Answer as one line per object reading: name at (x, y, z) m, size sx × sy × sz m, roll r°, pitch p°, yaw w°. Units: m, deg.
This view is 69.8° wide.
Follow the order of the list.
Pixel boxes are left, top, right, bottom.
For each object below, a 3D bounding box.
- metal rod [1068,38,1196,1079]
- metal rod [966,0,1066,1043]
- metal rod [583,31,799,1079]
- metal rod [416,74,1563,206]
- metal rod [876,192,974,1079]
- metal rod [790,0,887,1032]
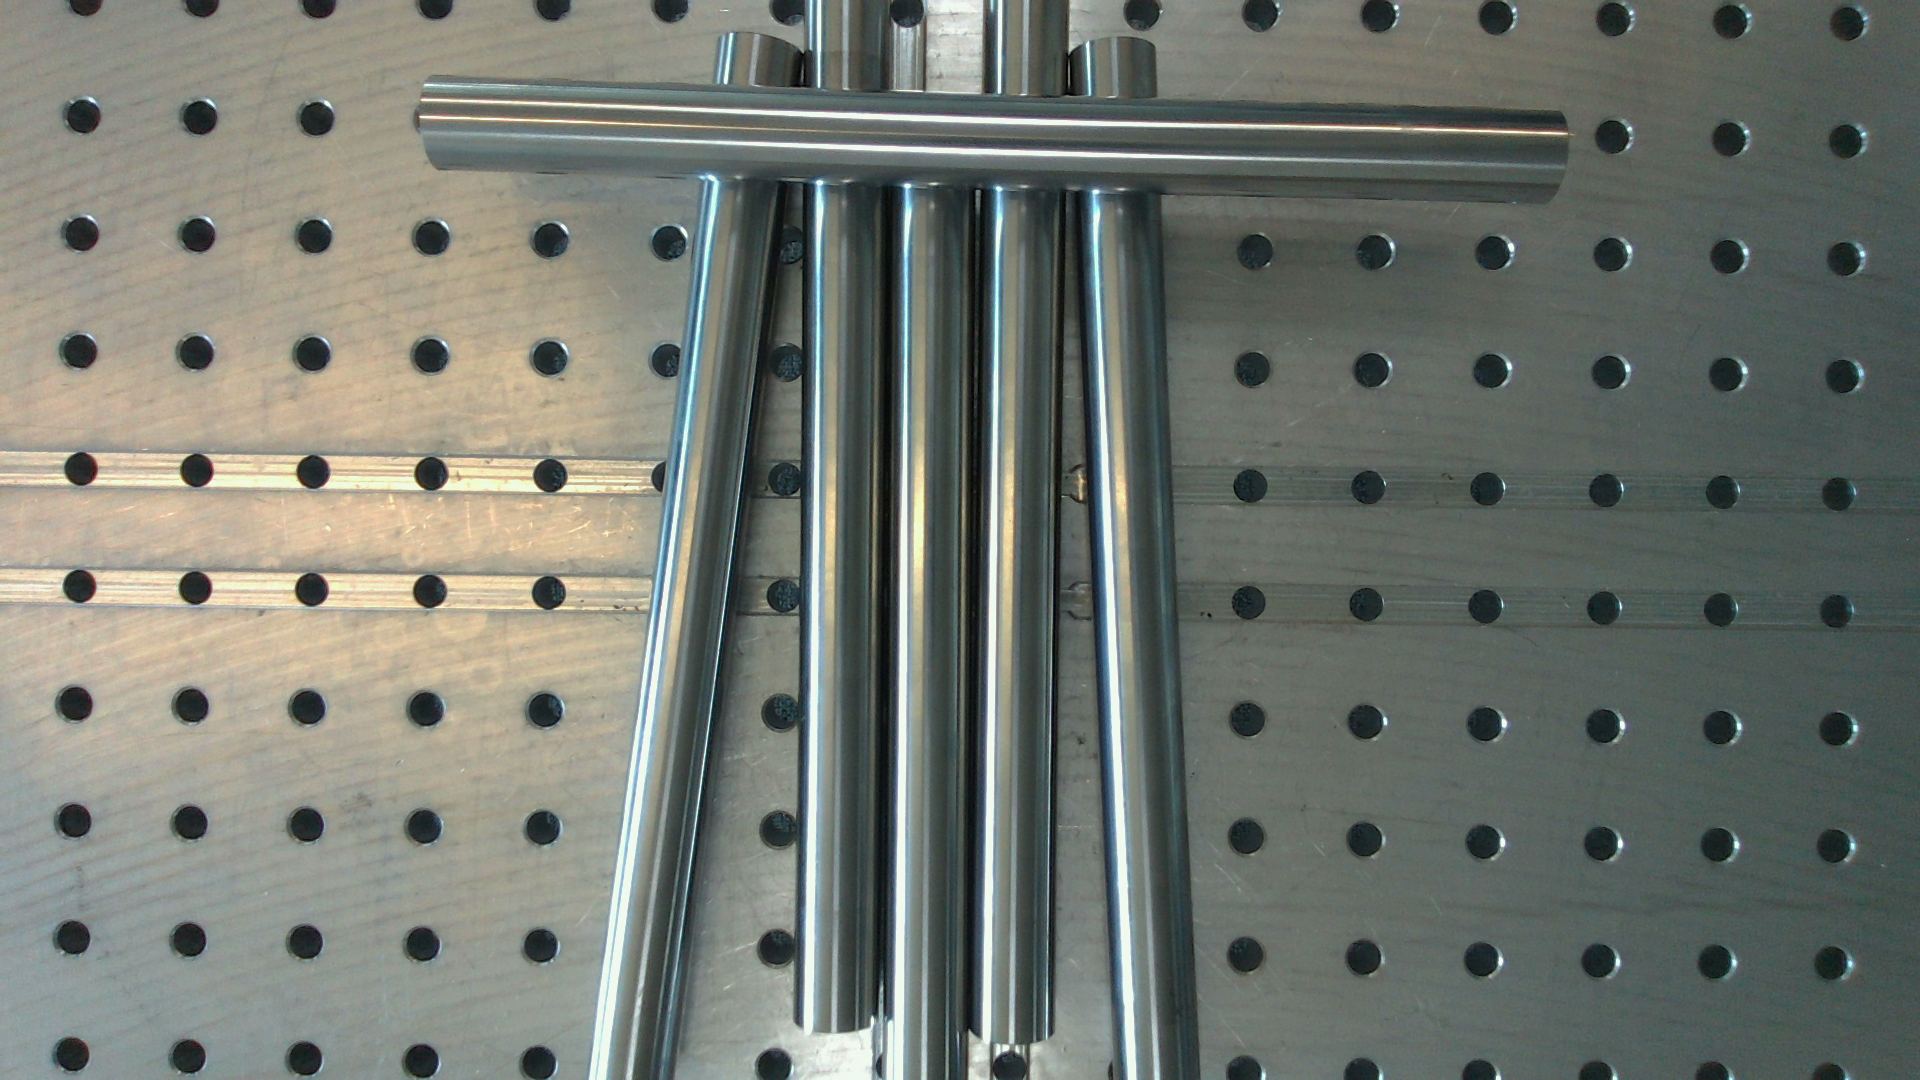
metal rod at (0.050, 0.009, 0.398) m, size 0.025 × 0.025 × 0.300 m, roll -2°, pitch 90°, yaw 0°
metal rod at (0.016, -0.009, 0.399) m, size 0.025 × 0.025 × 0.300 m, roll 1°, pitch 90°, yaw 0°
metal rod at (-0.077, 0.007, 0.396) m, size 0.025 × 0.025 × 0.300 m, roll 7°, pitch 90°, yaw 0°
metal rod at (0.008, -0.108, 0.372) m, size 0.300 × 0.025 × 0.025 m, roll 2°, pitch 90°, yaw 0°
metal rod at (-0.010, 0.044, 0.397) m, size 0.025 × 0.025 × 0.300 m, roll 1°, pitch 91°, yaw 0°
metal rod at (-0.035, -0.012, 0.398) m, size 0.025 × 0.025 × 0.300 m, roll 1°, pitch 90°, yaw 0°
